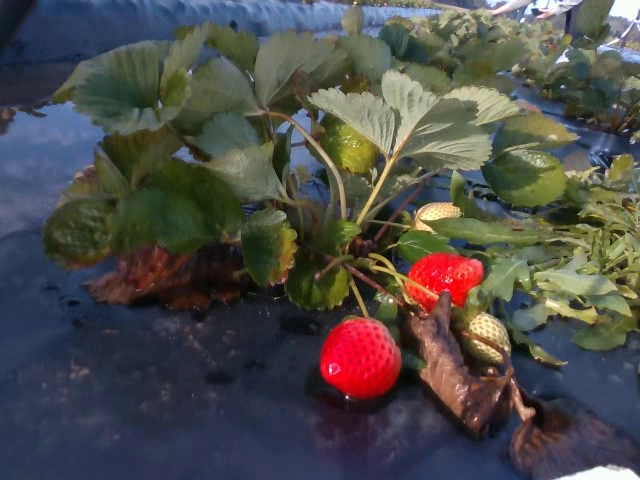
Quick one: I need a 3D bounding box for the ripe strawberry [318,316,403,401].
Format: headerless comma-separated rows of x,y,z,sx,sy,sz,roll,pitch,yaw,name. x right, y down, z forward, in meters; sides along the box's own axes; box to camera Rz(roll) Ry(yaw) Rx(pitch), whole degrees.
0.013,0.045,0.232,0.035,0.030,0.043,14,21,31,ripe strawberry

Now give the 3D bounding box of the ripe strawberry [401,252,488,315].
0.065,0.016,0.300,0.039,0.032,0.048,-12,-18,-31,ripe strawberry
